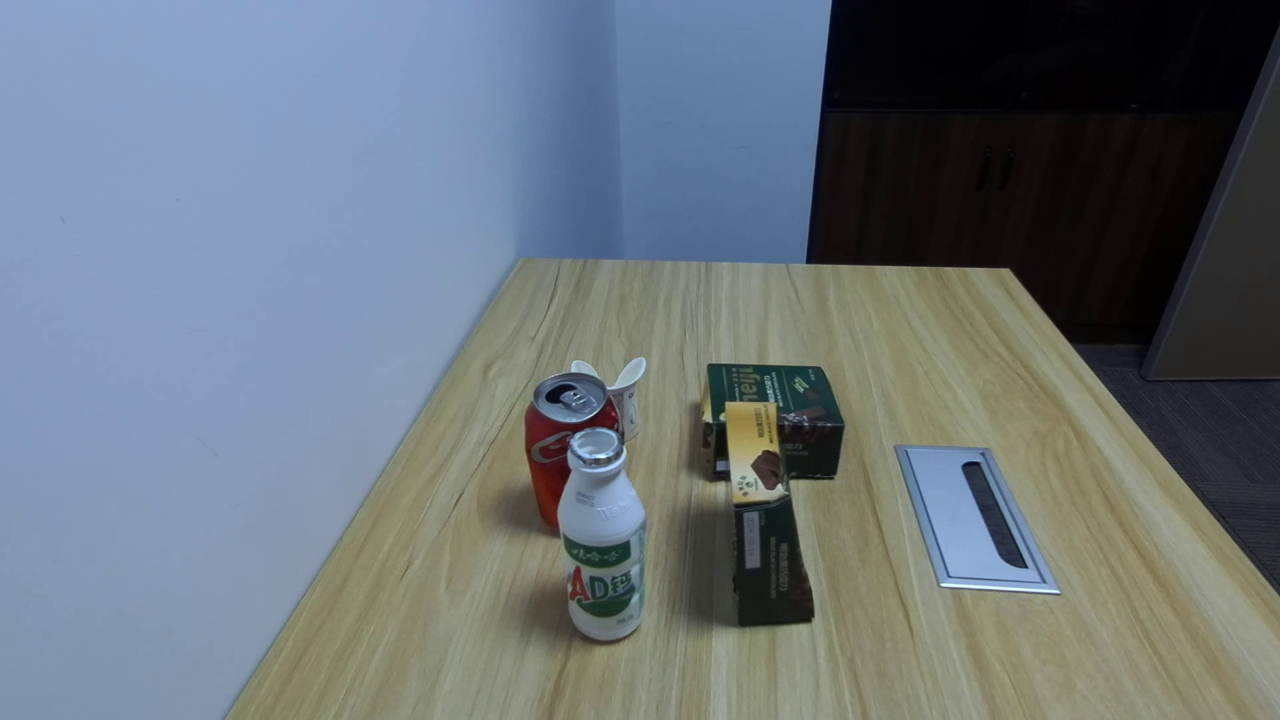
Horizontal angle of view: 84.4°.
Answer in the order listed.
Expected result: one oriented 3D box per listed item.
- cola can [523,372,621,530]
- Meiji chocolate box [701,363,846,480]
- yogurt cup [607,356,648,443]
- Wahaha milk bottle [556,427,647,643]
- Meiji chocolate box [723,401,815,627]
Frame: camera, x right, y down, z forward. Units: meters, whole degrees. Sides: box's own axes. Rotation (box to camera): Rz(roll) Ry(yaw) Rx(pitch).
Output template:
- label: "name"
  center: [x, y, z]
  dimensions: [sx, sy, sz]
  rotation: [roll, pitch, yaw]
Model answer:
- label: "cola can"
  center: [-0.047, 0.070, 0.538]
  dimensions: [0.072, 0.117, 0.065]
  rotation: [-2, 29, 0]
- label: "Meiji chocolate box"
  center: [0.113, 0.051, 0.627]
  dimensions: [0.122, 0.058, 0.115]
  rotation: [0, 29, 1]
- label: "yogurt cup"
  center: [-0.027, 0.037, 0.640]
  dimensions: [0.067, 0.070, 0.067]
  rotation: [0, 30, 0]
- label: "Wahaha milk bottle"
  center: [-0.023, 0.110, 0.445]
  dimensions: [0.056, 0.148, 0.056]
  rotation: [-2, 31, 2]
- label: "Meiji chocolate box"
  center: [0.083, 0.100, 0.488]
  dimensions: [0.051, 0.117, 0.117]
  rotation: [-7, 30, 6]
